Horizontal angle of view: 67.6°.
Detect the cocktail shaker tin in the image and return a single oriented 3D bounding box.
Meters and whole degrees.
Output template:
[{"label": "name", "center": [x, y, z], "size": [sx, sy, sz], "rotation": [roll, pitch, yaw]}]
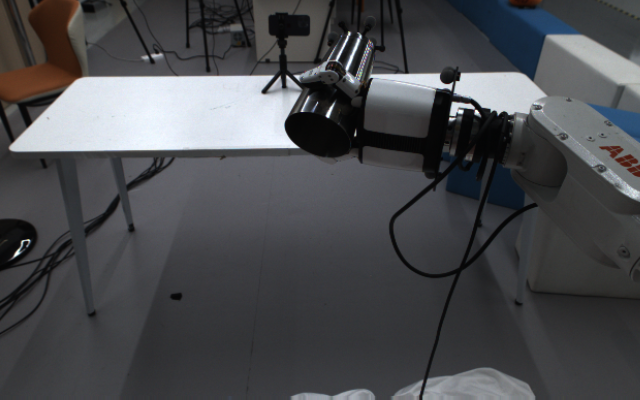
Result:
[{"label": "cocktail shaker tin", "center": [0.022, -0.155, 0.673], "size": [0.093, 0.093, 0.170], "rotation": [13, 60, 16]}]
